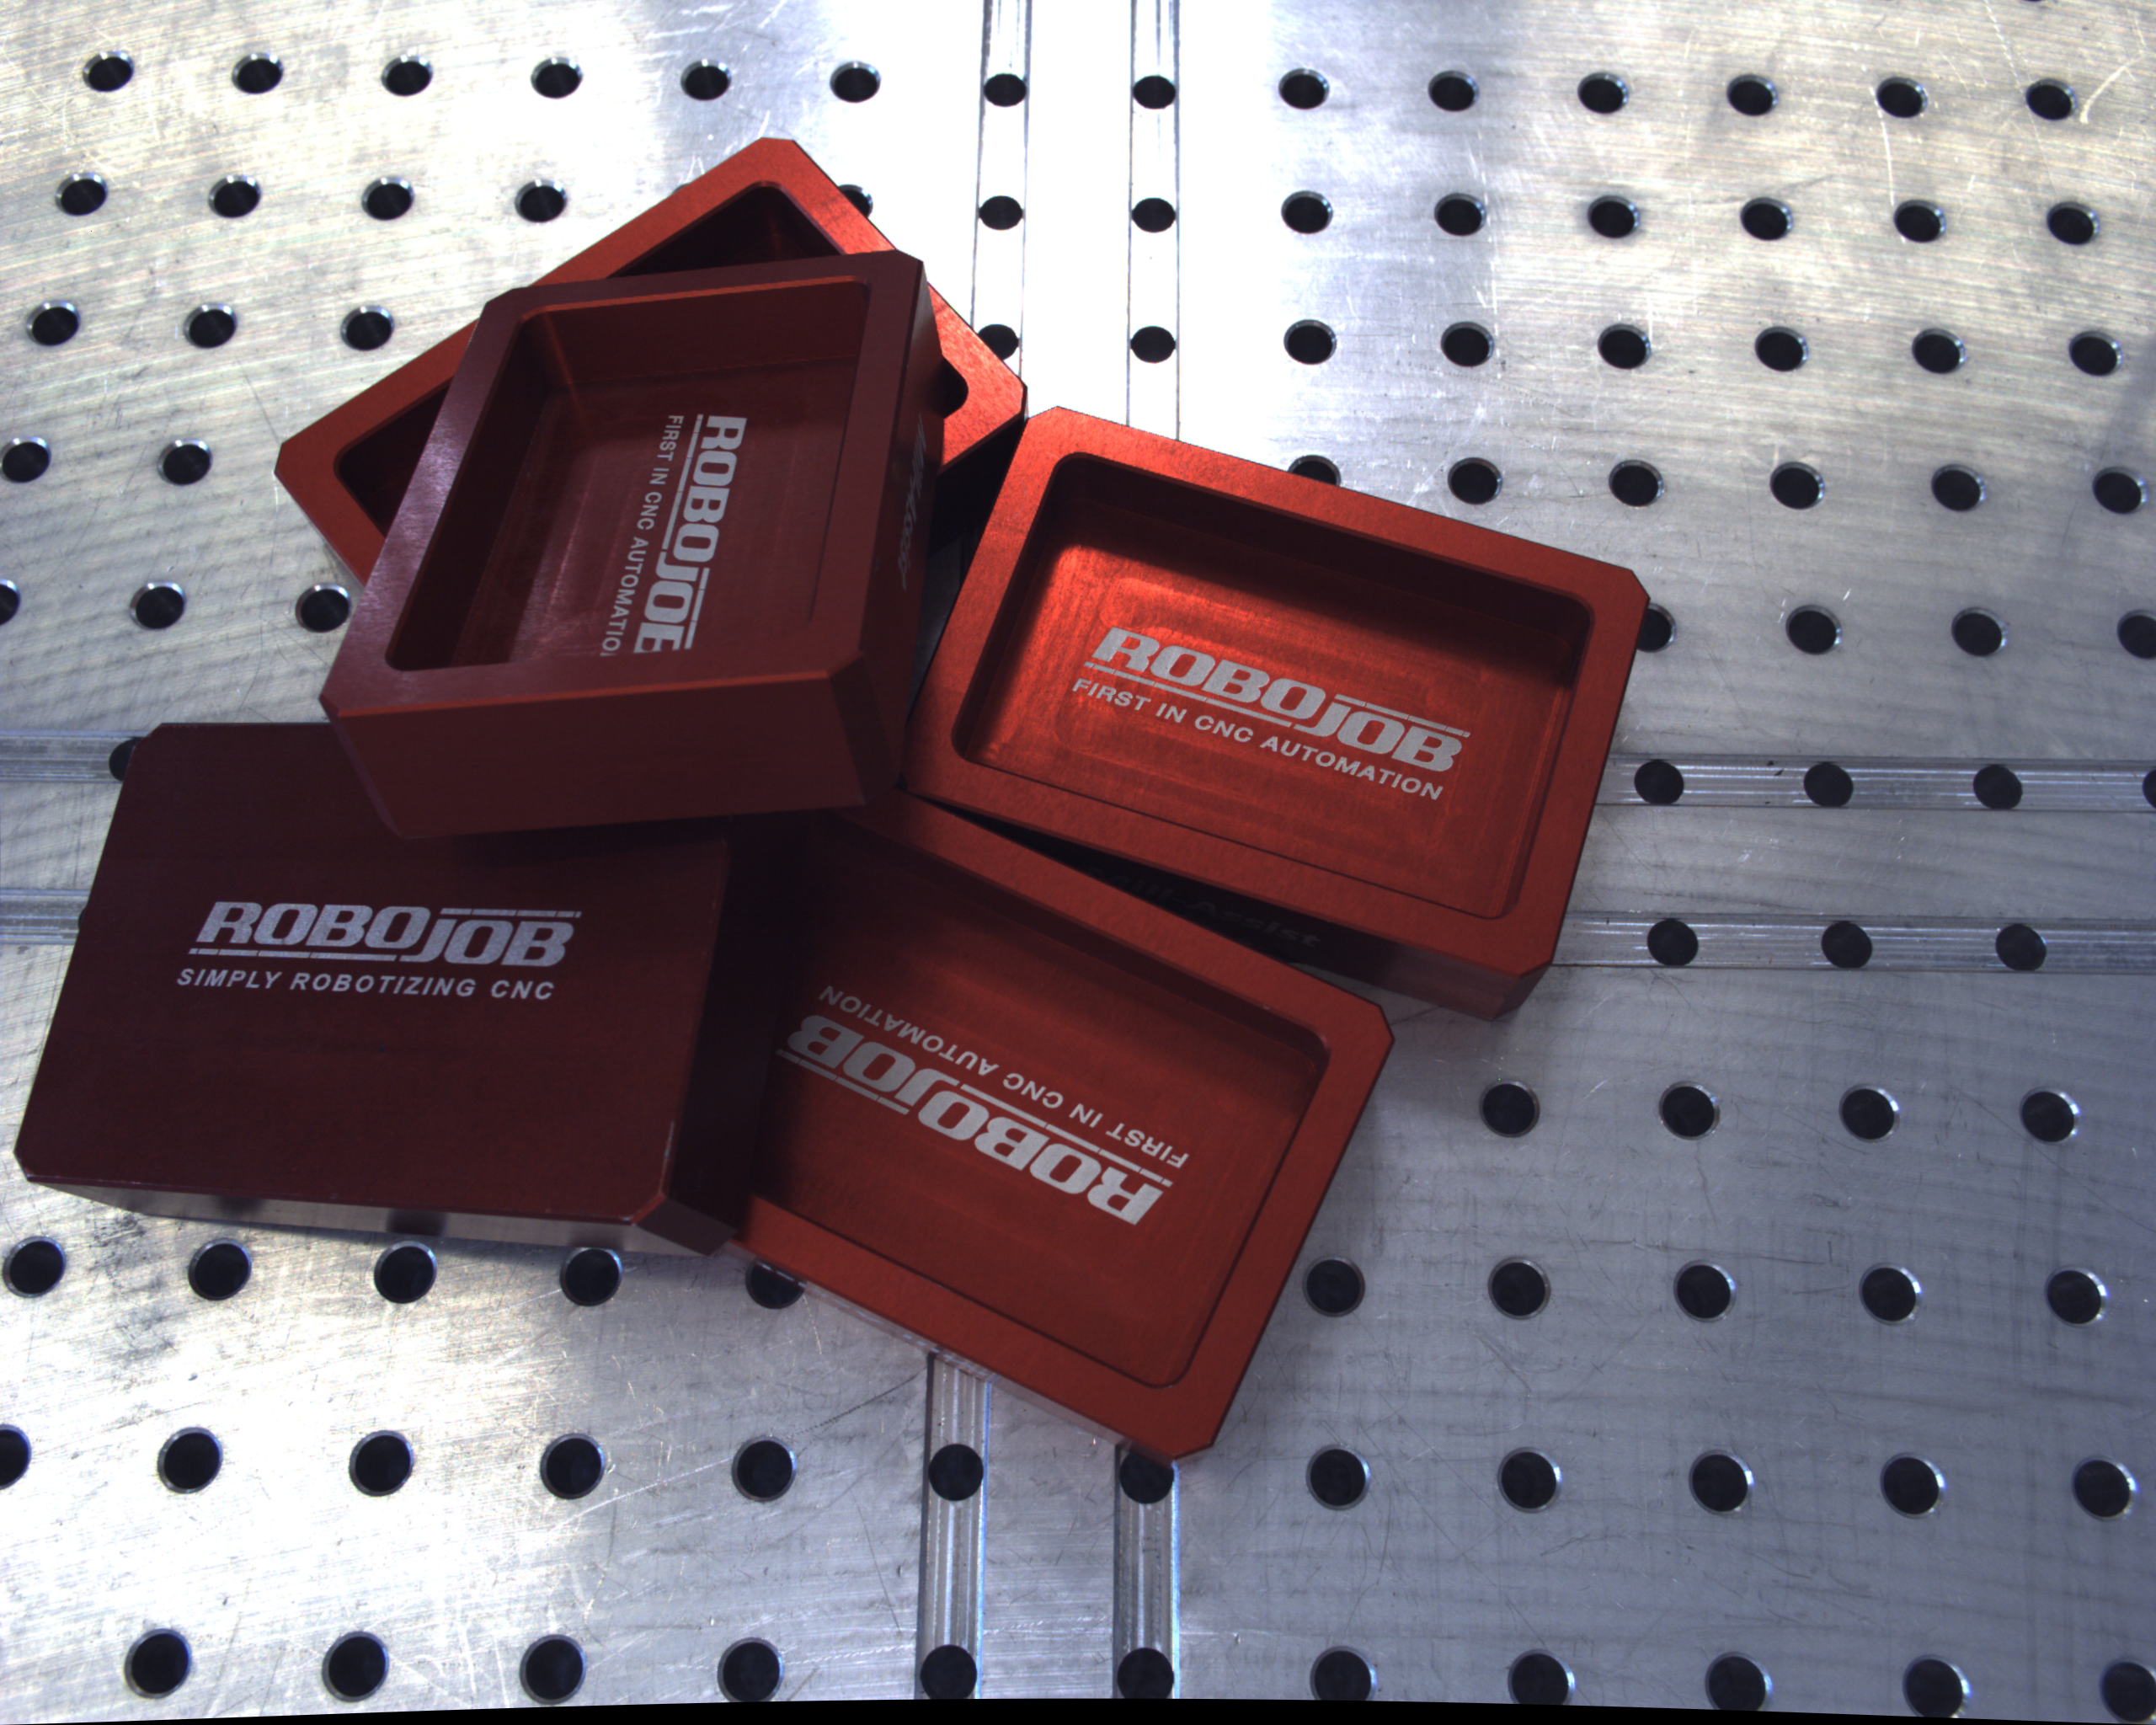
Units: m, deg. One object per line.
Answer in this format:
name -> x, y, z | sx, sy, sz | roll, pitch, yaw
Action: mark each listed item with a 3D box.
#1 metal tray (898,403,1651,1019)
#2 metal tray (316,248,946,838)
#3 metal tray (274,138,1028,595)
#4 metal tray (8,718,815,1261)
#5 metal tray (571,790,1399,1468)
metal tray -> 0.039, -0.031, 0.419 | 0.130, 0.030, 0.090 | 17, 71, 6
metal tray -> -0.076, -0.063, 0.386 | 0.090, 0.030, 0.130 | -4, 46, 6
metal tray -> -0.086, -0.084, 0.438 | 0.130, 0.030, 0.090 | -38, 74, -13
metal tray -> -0.121, 0.021, 0.383 | 0.130, 0.030, 0.090 | 2, 70, 15
metal tray -> -0.018, 0.045, 0.392 | 0.130, 0.030, 0.090 | 24, 72, 8
